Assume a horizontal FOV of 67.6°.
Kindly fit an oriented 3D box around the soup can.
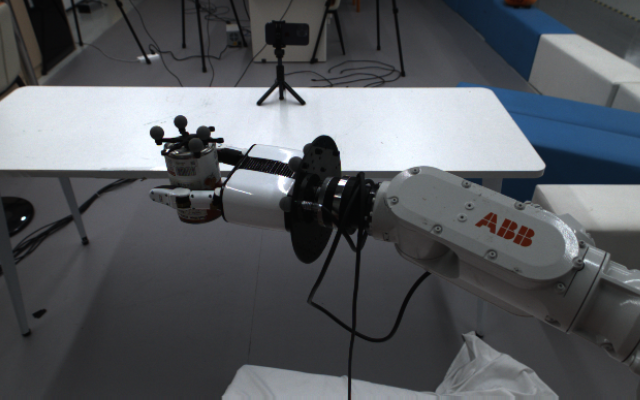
[{"bbox_3d":[-0.165,-0.027,0.644,0.067,0.101,0.067,-1,32,1],"label":"soup can"}]
